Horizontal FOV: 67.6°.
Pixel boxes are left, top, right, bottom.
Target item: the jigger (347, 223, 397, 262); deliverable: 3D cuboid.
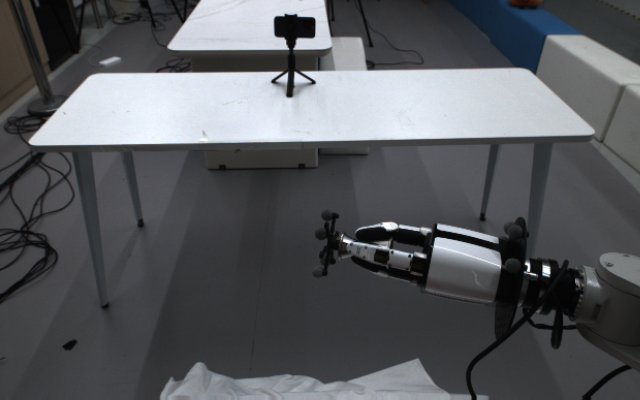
[{"bbox_3d":[0.069,0.064,0.659,0.071,0.043,0.043,7,35,15],"label":"jigger"}]
